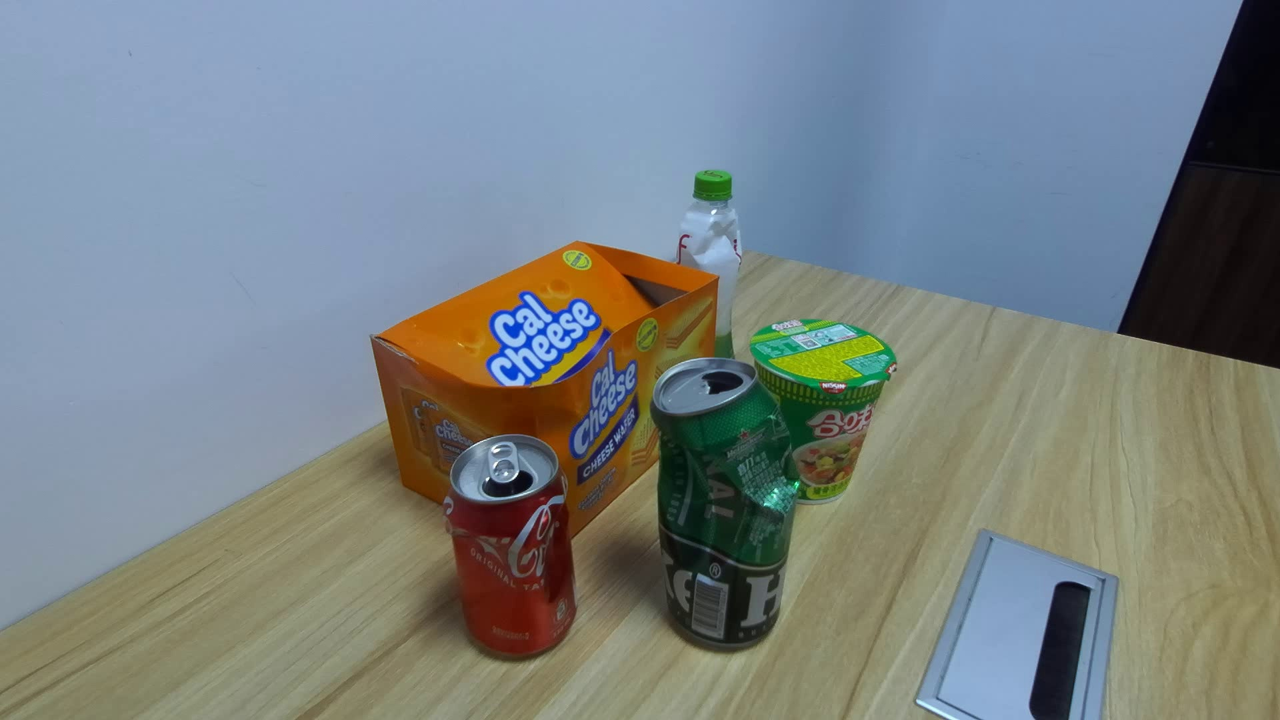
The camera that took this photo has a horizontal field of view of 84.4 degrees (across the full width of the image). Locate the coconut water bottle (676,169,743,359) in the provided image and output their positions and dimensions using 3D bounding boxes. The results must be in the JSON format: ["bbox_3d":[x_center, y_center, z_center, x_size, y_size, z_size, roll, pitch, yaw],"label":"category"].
[{"bbox_3d":[0.058,-0.071,0.618,0.069,0.186,0.069,1,28,0],"label":"coconut water bottle"}]

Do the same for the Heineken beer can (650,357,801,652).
[{"bbox_3d":[0.048,0.079,0.387,0.078,0.159,0.067,-2,25,12],"label":"Heineken beer can"}]

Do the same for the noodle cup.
[{"bbox_3d":[0.121,0.040,0.503,0.097,0.110,0.097,1,30,0],"label":"noodle cup"}]

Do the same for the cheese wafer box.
[{"bbox_3d":[-0.057,0.016,0.533,0.151,0.132,0.231,19,33,28],"label":"cheese wafer box"}]

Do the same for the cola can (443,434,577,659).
[{"bbox_3d":[-0.069,0.101,0.389,0.066,0.117,0.066,13,32,22],"label":"cola can"}]
